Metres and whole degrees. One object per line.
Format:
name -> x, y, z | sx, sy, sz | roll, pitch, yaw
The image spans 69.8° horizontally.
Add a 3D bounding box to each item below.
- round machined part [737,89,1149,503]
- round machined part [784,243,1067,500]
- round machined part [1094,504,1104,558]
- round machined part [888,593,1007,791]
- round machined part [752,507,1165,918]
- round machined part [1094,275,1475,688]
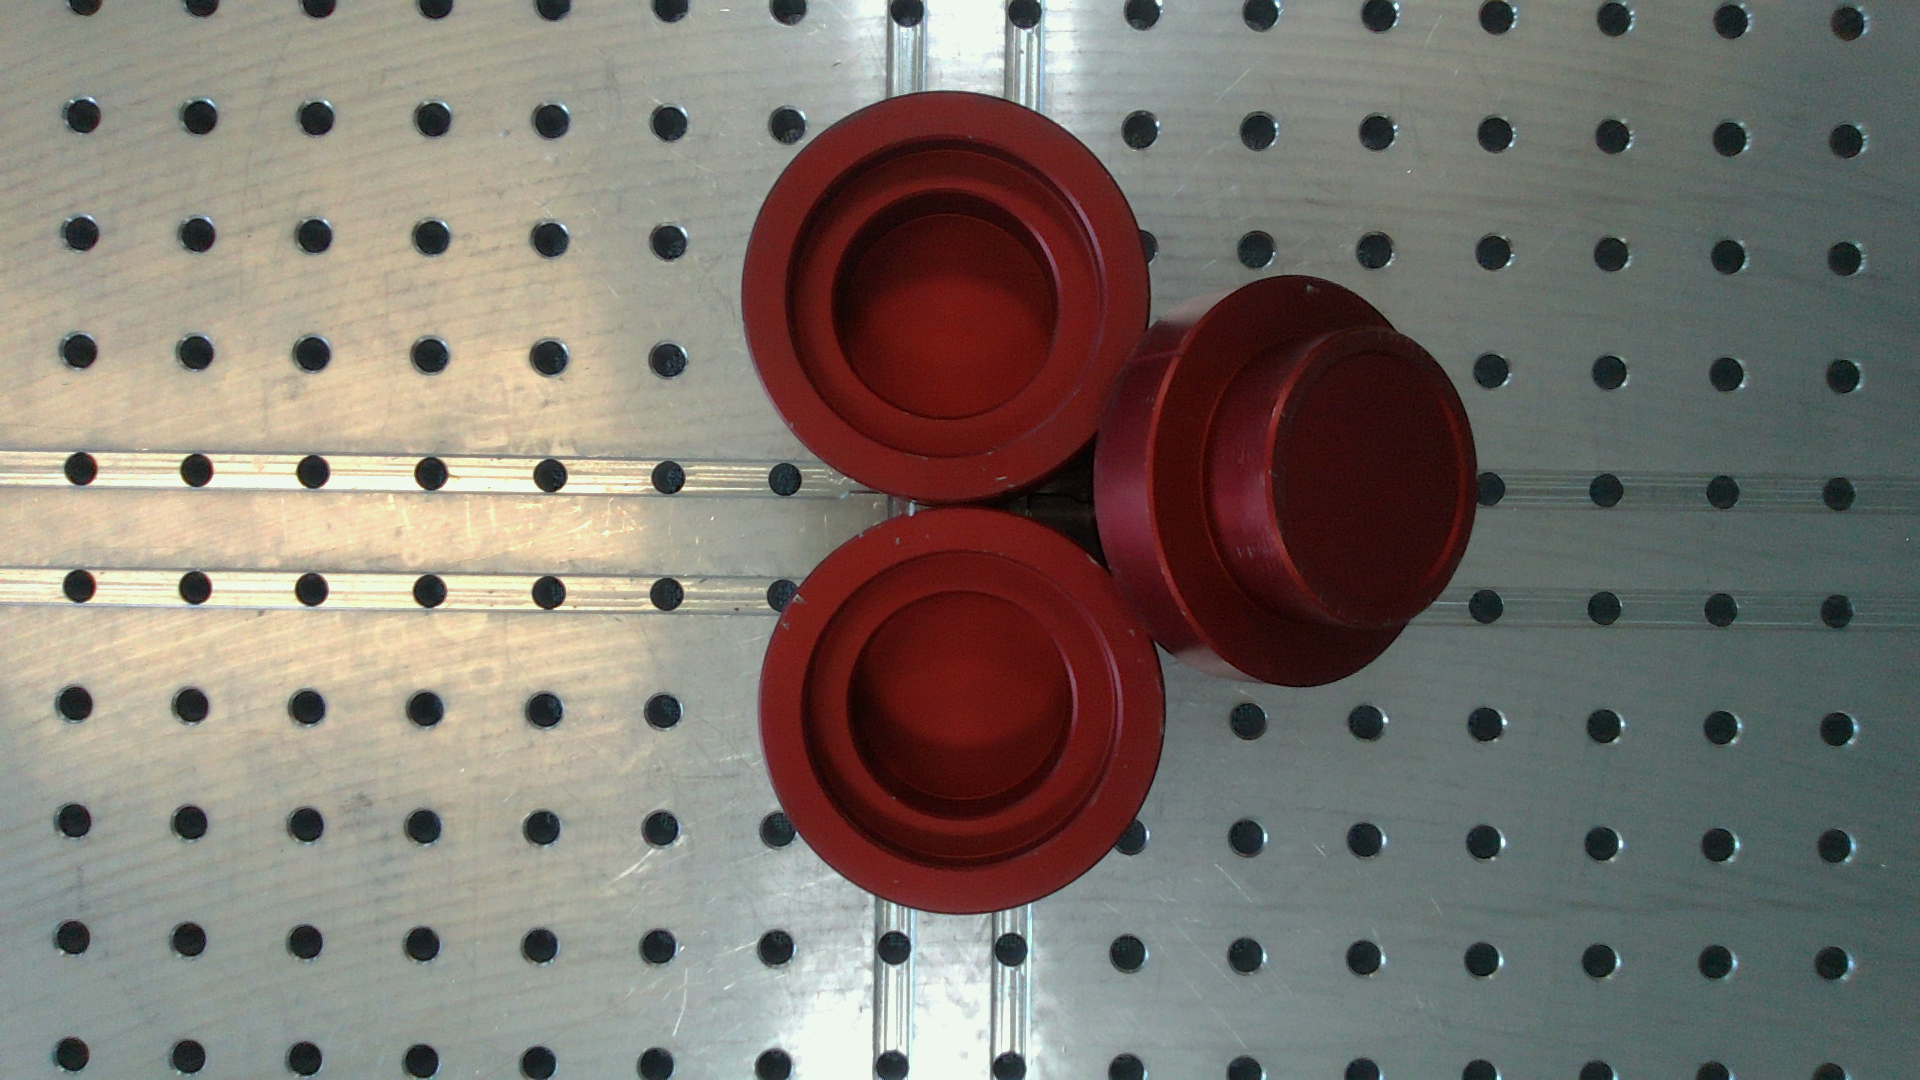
round machined part -> -0.004, -0.058, 0.346 | 0.098, 0.042, 0.098 | 0, 90, 0
round machined part -> -0.002, -0.058, 0.390 | 0.098, 0.042, 0.098 | 0, 90, 0
round machined part -> 0.087, -0.014, 0.390 | 0.098, 0.042, 0.098 | 0, 90, 0
round machined part -> -0.001, 0.041, 0.390 | 0.098, 0.042, 0.098 | 0, 90, 0
round machined part -> 0.000, 0.041, 0.347 | 0.098, 0.042, 0.098 | 0, 90, 0
round machined part -> 0.083, -0.014, 0.326 | 0.098, 0.042, 0.098 | 0, 89, -32
